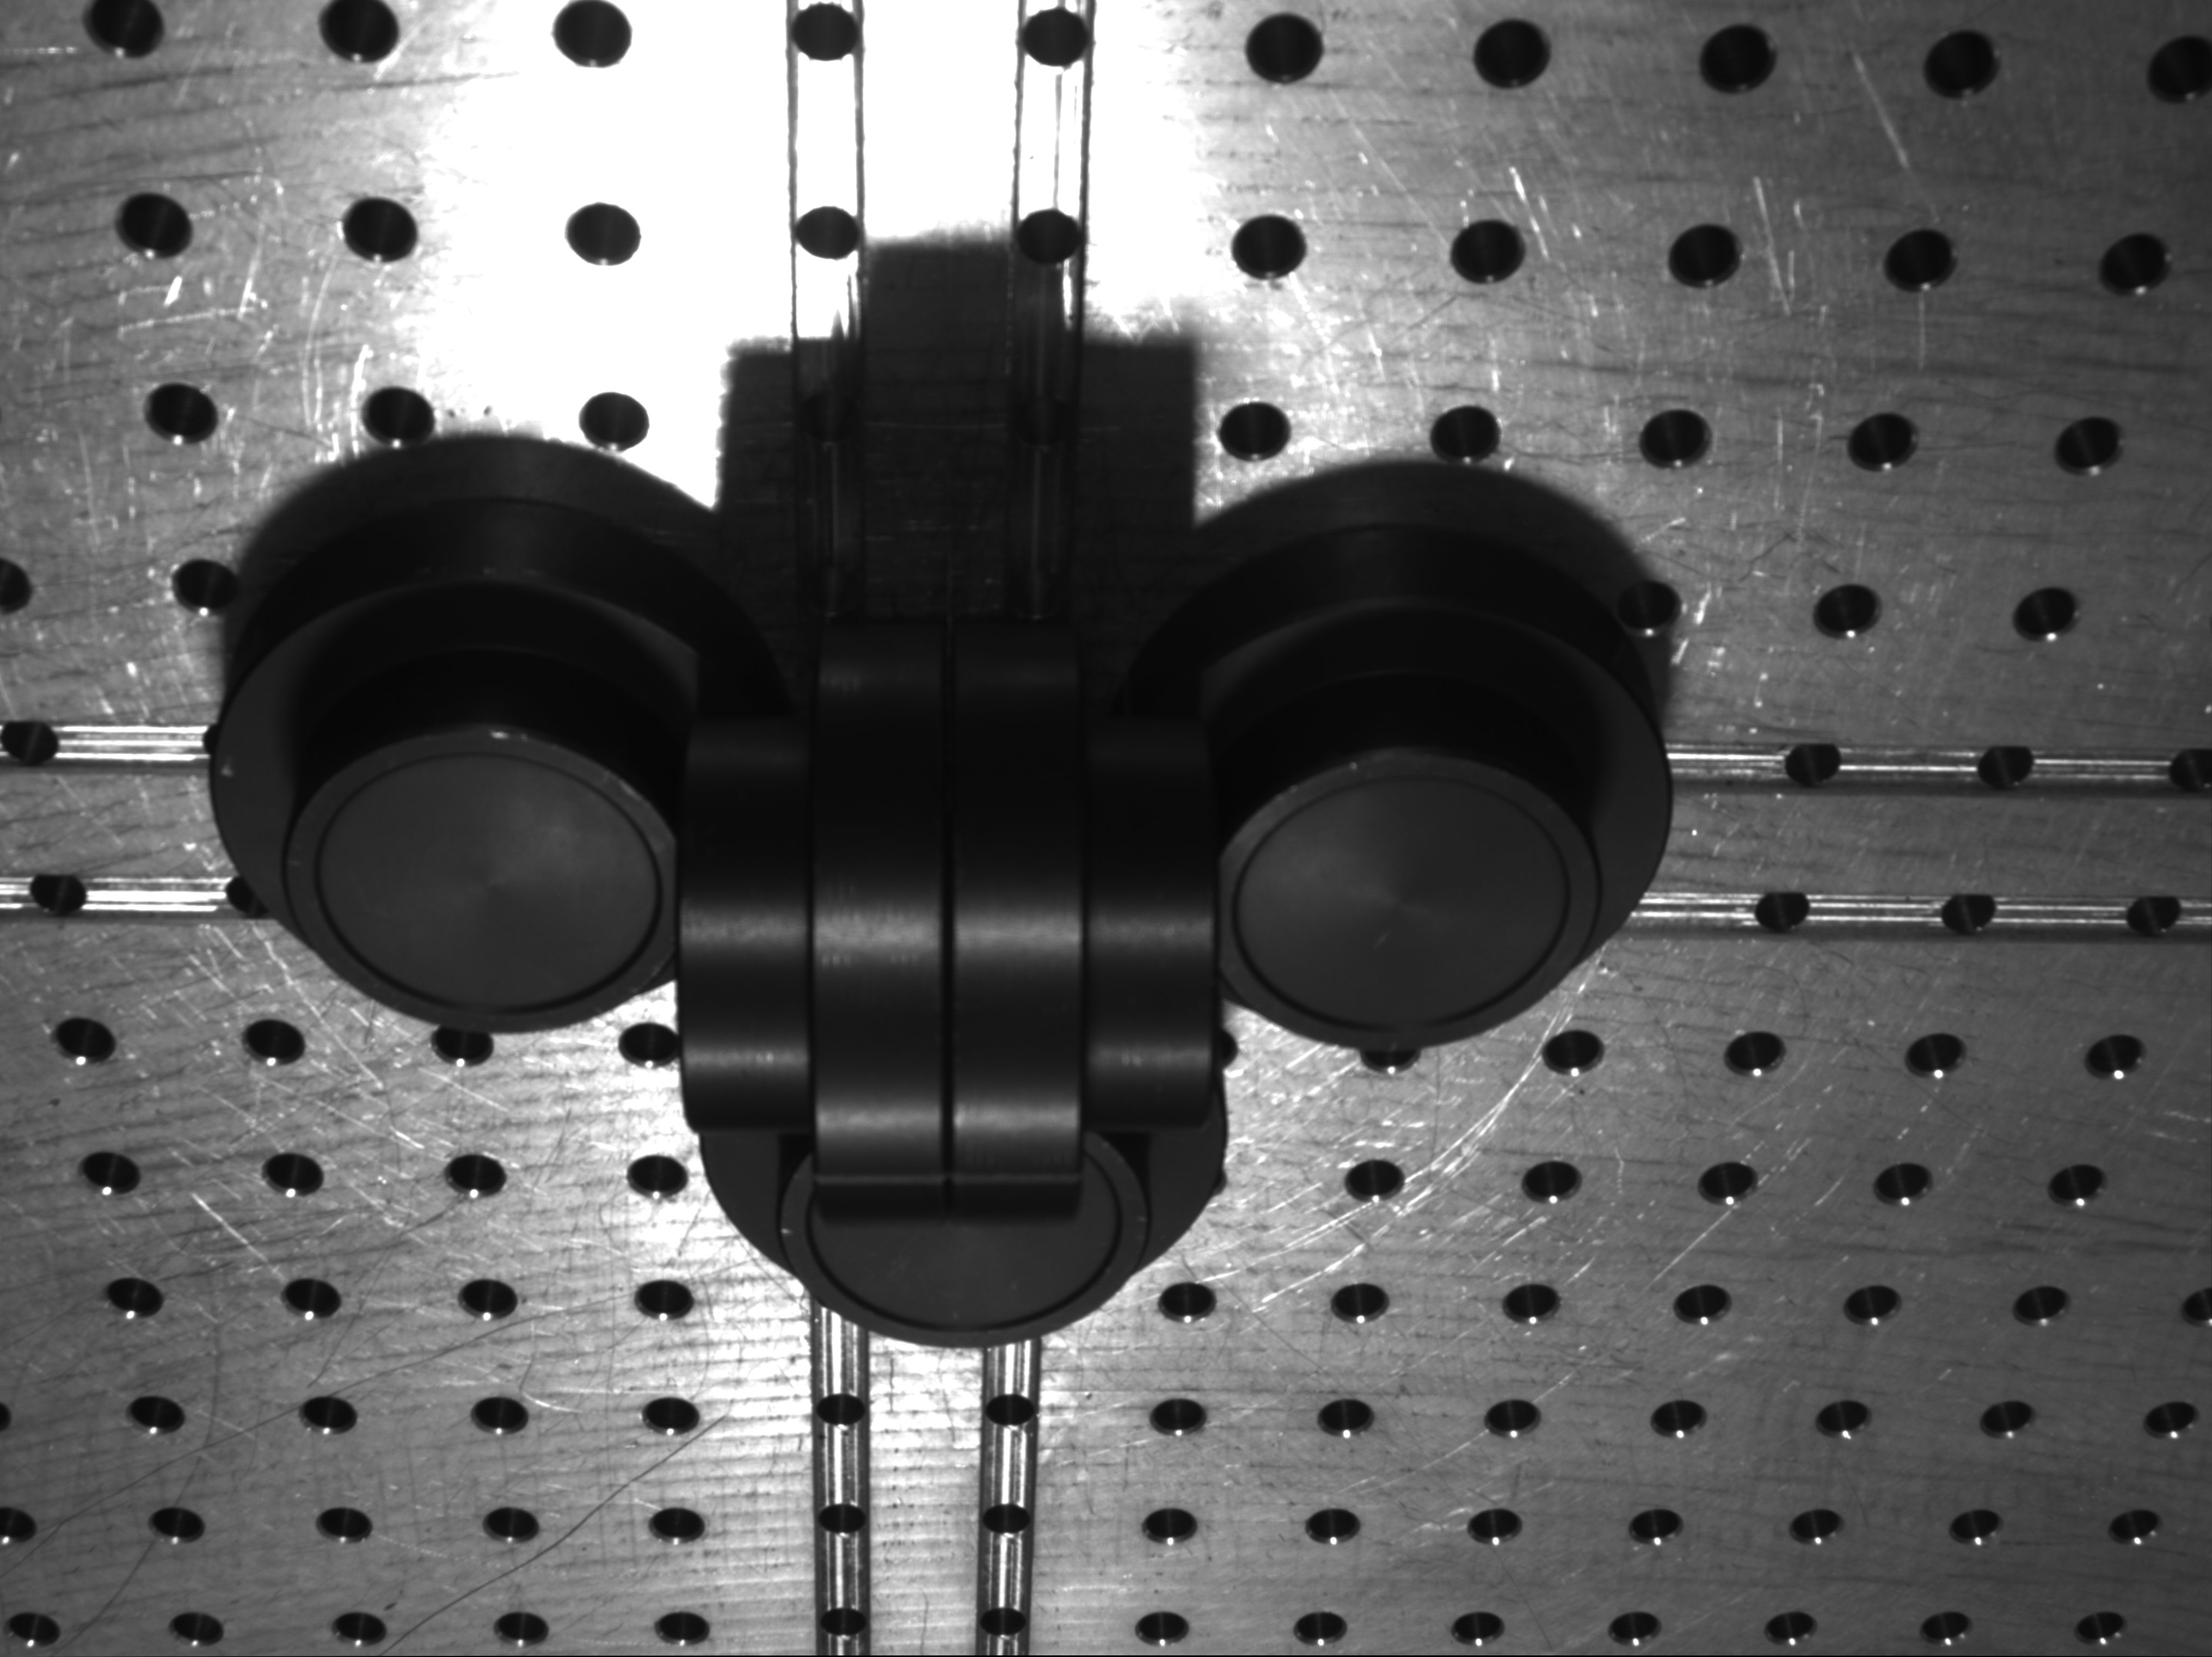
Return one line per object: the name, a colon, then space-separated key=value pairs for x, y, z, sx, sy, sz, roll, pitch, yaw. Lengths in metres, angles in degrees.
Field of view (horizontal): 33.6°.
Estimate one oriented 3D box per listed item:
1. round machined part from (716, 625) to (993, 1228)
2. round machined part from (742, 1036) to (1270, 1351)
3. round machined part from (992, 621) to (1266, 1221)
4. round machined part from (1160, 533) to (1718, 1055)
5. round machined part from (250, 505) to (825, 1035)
round machined part: x=-0.040 y=0.016 z=0.597 sx=0.042 sy=0.098 sz=0.098 roll=1 pitch=130 yaw=-2
round machined part: x=-0.019 y=0.059 z=0.679 sx=0.098 sy=0.042 sz=0.098 roll=-1 pitch=130 yaw=-1
round machined part: x=0.003 y=0.015 z=0.599 sx=0.042 sy=0.098 sz=0.098 roll=-1 pitch=130 yaw=-1
round machined part: x=0.057 y=0.001 z=0.632 sx=0.098 sy=0.042 sz=0.098 roll=-1 pitch=130 yaw=-1
round machined part: x=-0.096 y=-0.003 z=0.624 sx=0.098 sy=0.042 sz=0.098 roll=-1 pitch=130 yaw=-1
